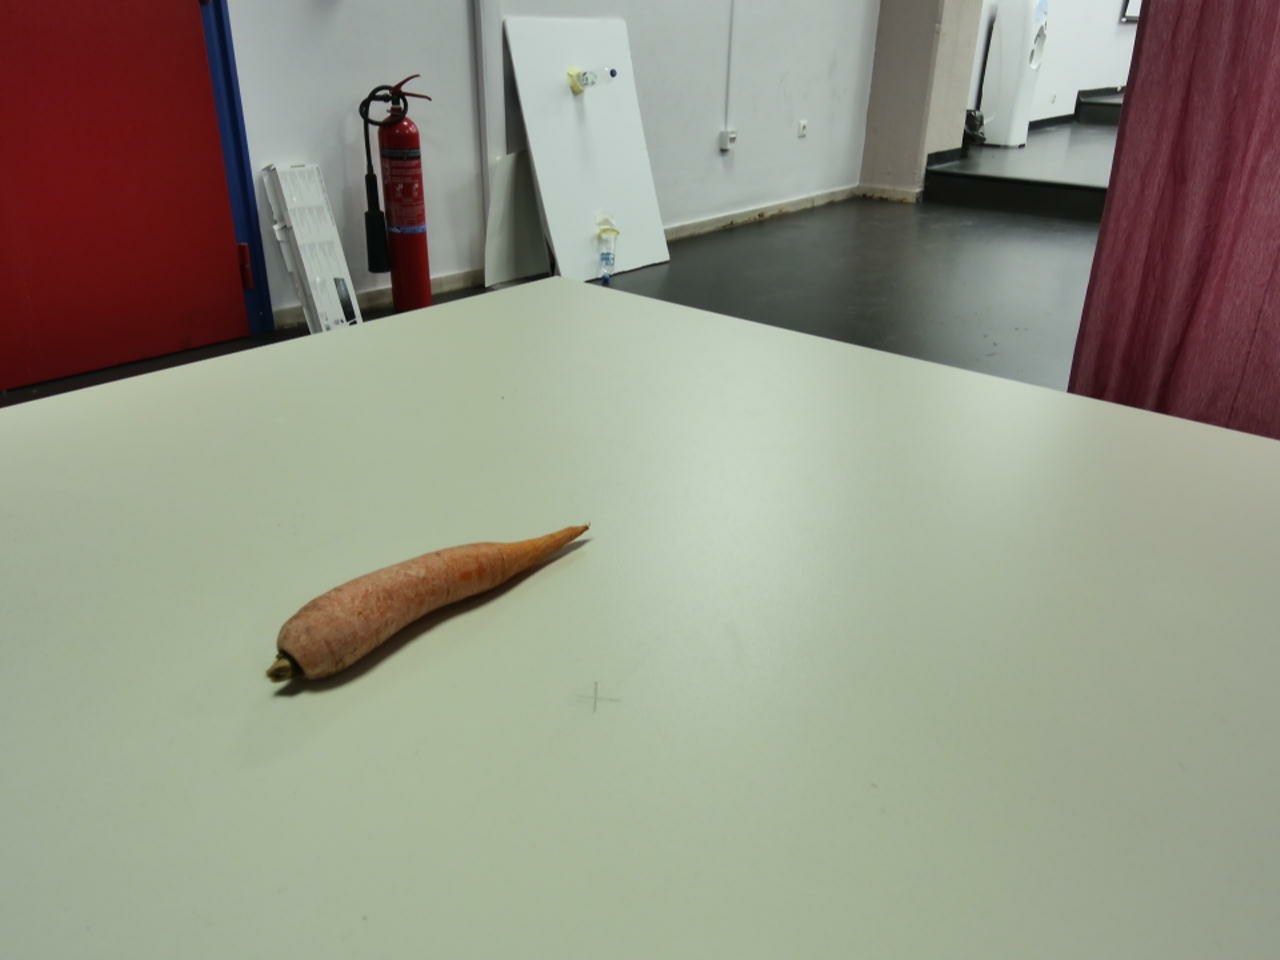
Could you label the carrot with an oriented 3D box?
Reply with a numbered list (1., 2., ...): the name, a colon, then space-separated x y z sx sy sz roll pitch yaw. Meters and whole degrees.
1. carrot: -0.083 0.041 0.417 0.031 0.029 0.163 18 29 36
